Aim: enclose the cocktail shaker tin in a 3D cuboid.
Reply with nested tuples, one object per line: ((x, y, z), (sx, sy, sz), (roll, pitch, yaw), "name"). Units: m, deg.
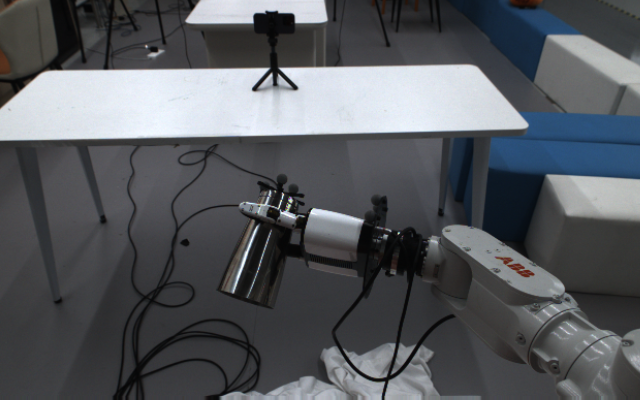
((-0.089, 0.072, 0.760), (0.093, 0.093, 0.170), (13, 71, 15), "cocktail shaker tin")
